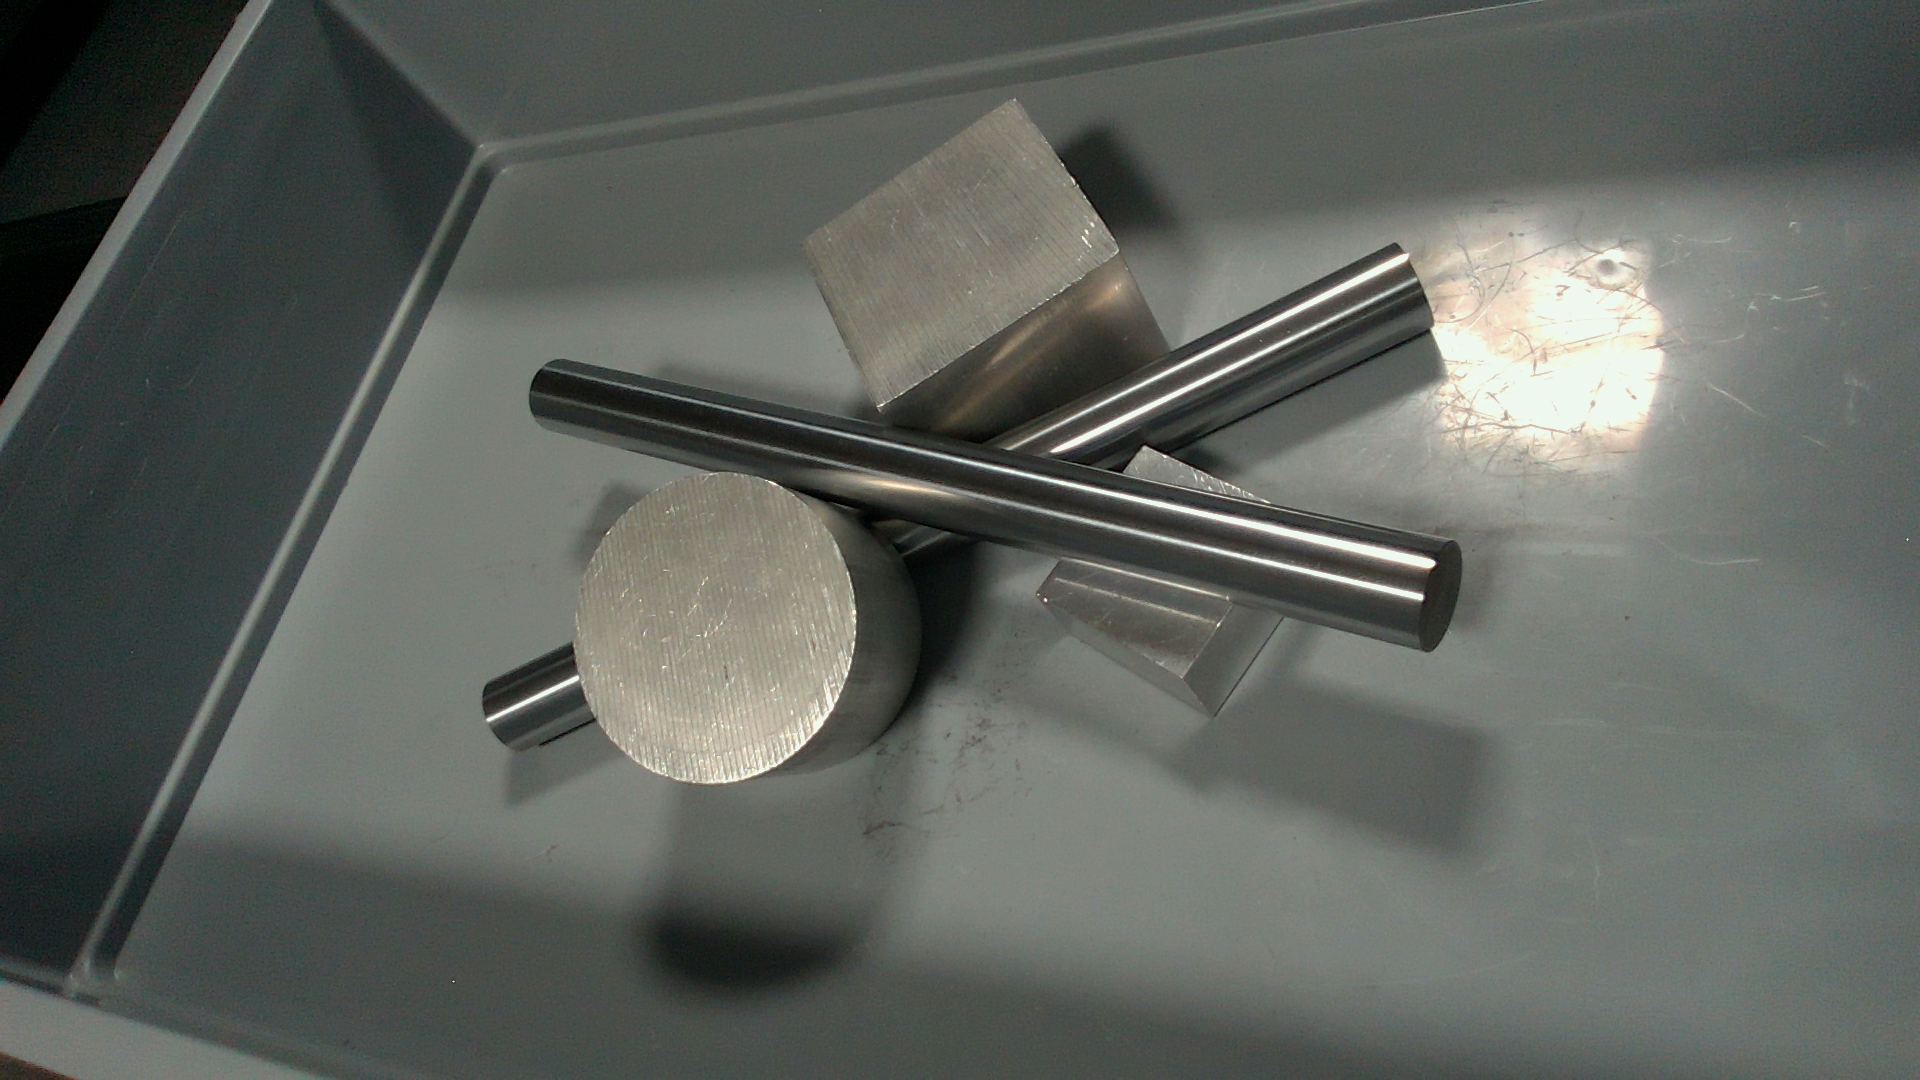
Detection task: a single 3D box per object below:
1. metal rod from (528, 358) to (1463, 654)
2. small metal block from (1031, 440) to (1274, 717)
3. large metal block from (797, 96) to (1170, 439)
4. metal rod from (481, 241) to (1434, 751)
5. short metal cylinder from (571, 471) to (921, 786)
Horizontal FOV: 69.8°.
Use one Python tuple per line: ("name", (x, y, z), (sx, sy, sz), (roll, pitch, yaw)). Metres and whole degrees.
("metal rod", (-0.016, -0.018, 0.380), (0.299, 0.025, 0.025), (14, 69, 34))
("small metal block", (0.056, 0.009, 0.355), (0.050, 0.025, 0.050), (30, 78, 38))
("large metal block", (0.007, -0.074, 0.417), (0.080, 0.050, 0.080), (-31, 51, 8))
("metal rod", (-0.011, -0.007, 0.402), (0.299, 0.025, 0.025), (-25, 52, 13))
("short metal cylinder", (-0.057, 0.025, 0.373), (0.080, 0.050, 0.080), (-2, 83, 17))
